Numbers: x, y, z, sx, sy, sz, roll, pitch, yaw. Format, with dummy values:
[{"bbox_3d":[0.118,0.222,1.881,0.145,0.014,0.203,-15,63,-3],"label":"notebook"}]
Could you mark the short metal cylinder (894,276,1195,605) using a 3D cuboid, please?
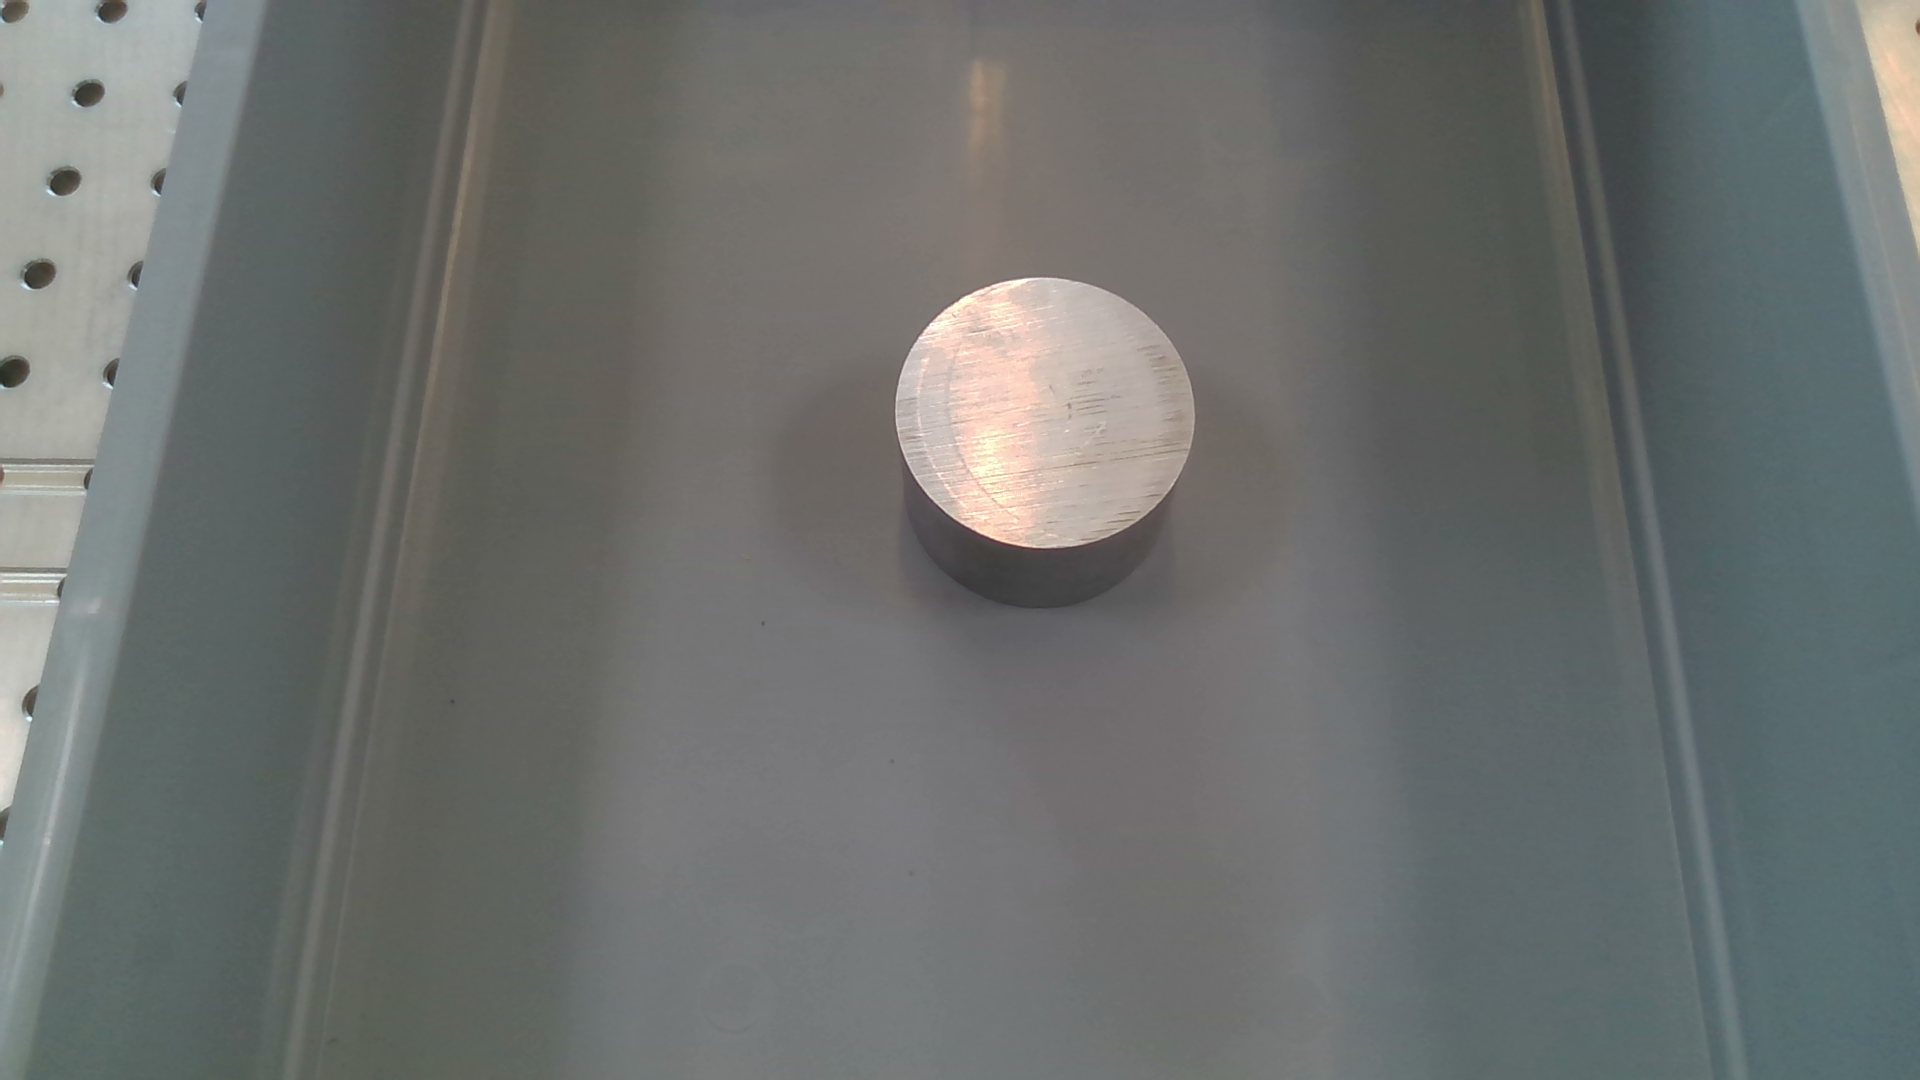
[{"bbox_3d":[0.022,-0.027,0.390,0.080,0.050,0.080,0,70,0],"label":"short metal cylinder"}]
